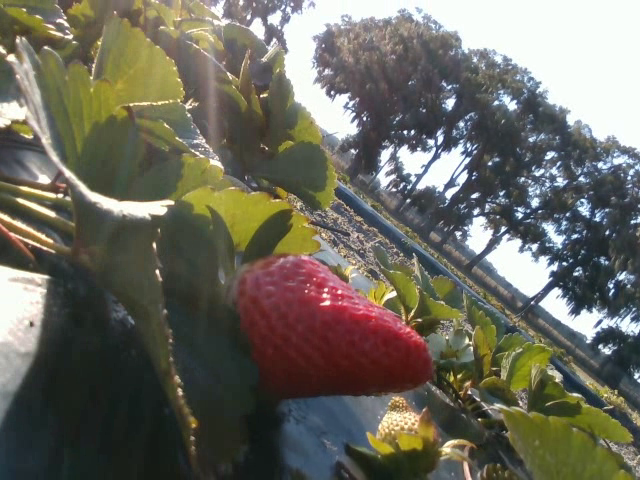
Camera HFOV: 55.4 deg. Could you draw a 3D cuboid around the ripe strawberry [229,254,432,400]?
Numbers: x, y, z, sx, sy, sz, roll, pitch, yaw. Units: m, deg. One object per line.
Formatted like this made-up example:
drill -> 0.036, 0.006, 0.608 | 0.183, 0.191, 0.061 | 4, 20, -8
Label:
ripe strawberry -> 0.004, 0.027, 0.176 | 0.072, 0.055, 0.057 | 20, 48, 15
